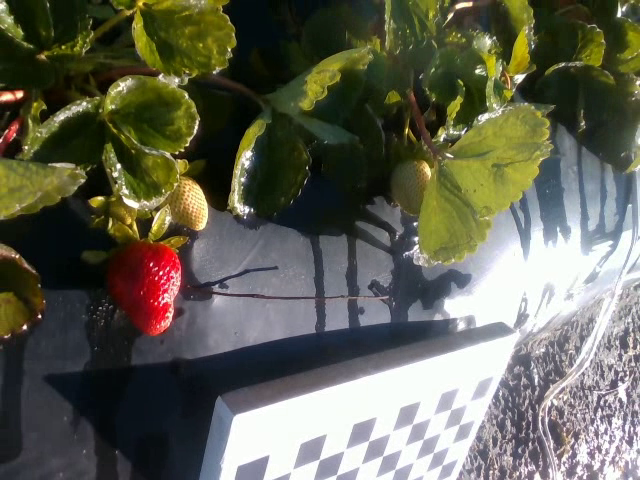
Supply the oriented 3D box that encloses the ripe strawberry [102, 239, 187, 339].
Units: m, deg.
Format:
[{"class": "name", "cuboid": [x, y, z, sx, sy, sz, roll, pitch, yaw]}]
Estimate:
[{"class": "ripe strawberry", "cuboid": [-0.067, 0.023, 0.239, 0.039, 0.039, 0.040, -8, -32, -25]}]
